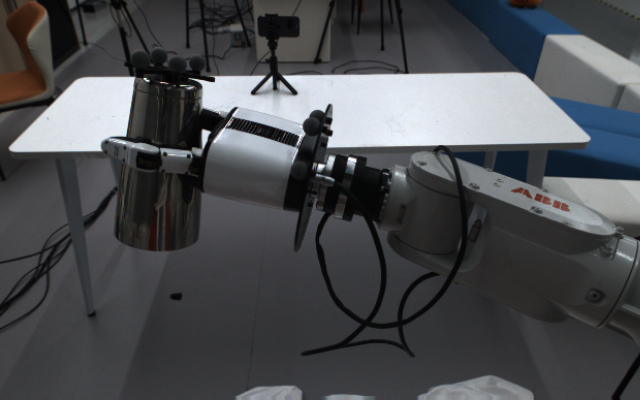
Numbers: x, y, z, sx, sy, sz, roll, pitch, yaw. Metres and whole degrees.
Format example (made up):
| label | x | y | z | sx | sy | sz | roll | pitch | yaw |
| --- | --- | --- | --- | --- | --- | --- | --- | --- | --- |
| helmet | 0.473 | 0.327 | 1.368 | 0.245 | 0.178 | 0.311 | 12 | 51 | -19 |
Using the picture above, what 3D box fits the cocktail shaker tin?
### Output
| label | x | y | z | sx | sy | sz | roll | pitch | yaw |
| --- | --- | --- | --- | --- | --- | --- | --- | --- | --- |
| cocktail shaker tin | -0.166 | -0.041 | 0.517 | 0.093 | 0.170 | 0.093 | 10 | 19 | -3 |
